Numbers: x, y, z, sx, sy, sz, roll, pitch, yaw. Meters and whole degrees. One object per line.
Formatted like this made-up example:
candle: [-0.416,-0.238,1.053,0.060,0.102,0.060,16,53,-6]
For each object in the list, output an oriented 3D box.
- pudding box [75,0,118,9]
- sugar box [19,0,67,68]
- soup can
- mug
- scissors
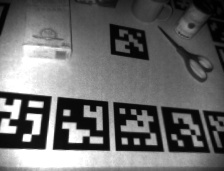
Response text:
pudding box: [-0.030,-0.240,0.544,0.115,0.089,0.038,-4,72,-21]
sugar box: [-0.147,-0.123,0.477,0.093,0.045,0.175,1,65,-17]
soup can: [0.224,-0.182,0.610,0.068,0.102,0.067,8,60,-13]
mug: [0.111,-0.226,0.595,0.094,0.081,0.116,-33,77,-27]
scissors: [0.198,-0.084,0.590,0.088,0.016,0.202,-41,83,-21]
